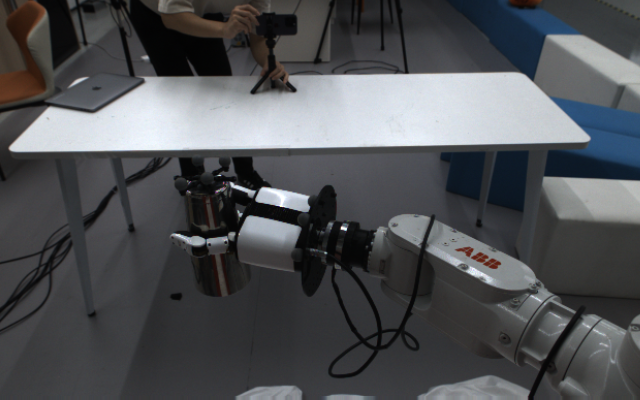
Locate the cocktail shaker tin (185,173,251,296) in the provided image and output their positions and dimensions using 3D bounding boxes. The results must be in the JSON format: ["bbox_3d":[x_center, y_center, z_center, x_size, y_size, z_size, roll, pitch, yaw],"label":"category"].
[{"bbox_3d":[-0.155,0.049,0.721,0.093,0.170,0.093,-2,32,1],"label":"cocktail shaker tin"}]
